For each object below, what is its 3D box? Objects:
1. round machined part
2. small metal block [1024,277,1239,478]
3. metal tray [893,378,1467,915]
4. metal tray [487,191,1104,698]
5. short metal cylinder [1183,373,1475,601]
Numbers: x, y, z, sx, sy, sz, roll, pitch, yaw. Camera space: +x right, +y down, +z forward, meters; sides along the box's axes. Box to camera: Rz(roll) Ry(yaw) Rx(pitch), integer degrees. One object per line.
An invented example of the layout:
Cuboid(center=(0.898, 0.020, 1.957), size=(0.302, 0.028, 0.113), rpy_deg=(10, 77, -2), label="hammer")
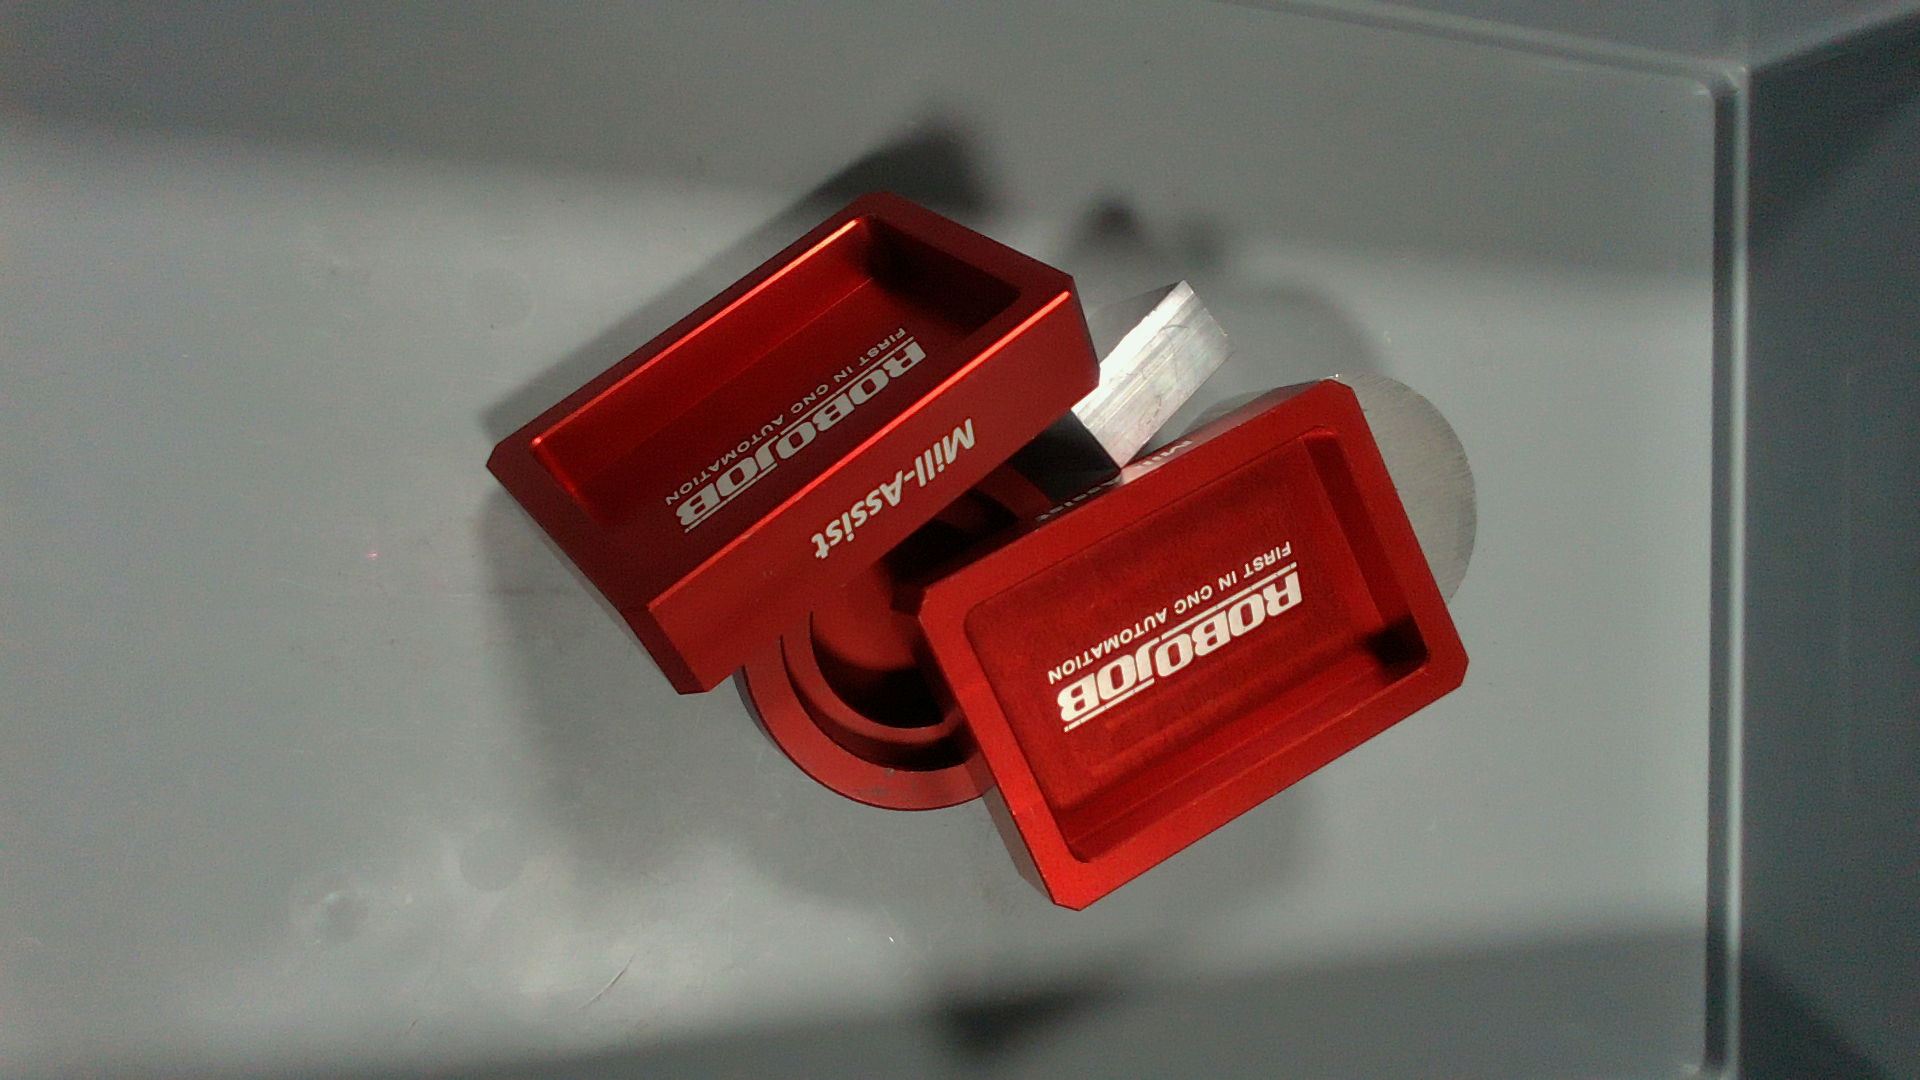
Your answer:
Cuboid(center=(-0.017, 0.023, 0.378), size=(0.098, 0.042, 0.098), rpy_deg=(0, 90, -20), label="round machined part")
Cuboid(center=(0.043, -0.045, 0.394), size=(0.050, 0.050, 0.025), rpy_deg=(-45, 104, -16), label="small metal block")
Cuboid(center=(0.059, 0.025, 0.360), size=(0.130, 0.030, 0.090), rpy_deg=(-27, 98, -13), label="metal tray")
Cuboid(center=(-0.041, -0.030, 0.341), size=(0.130, 0.090, 0.030), rpy_deg=(-39, 134, -16), label="metal tray")
Cuboid(center=(0.107, -0.008, 0.417), size=(0.080, 0.050, 0.080), rpy_deg=(0, 90, -20), label="short metal cylinder")
